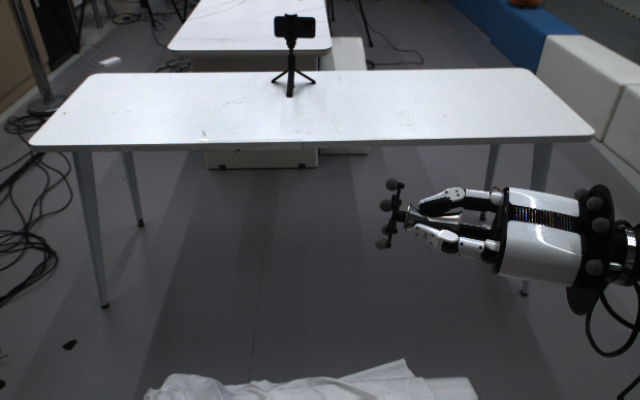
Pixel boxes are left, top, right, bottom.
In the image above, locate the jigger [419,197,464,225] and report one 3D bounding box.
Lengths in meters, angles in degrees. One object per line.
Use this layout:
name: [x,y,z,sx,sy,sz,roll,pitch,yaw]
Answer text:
jigger: [0.153,0.027,0.632,0.071,0.043,0.043,11,36,15]
